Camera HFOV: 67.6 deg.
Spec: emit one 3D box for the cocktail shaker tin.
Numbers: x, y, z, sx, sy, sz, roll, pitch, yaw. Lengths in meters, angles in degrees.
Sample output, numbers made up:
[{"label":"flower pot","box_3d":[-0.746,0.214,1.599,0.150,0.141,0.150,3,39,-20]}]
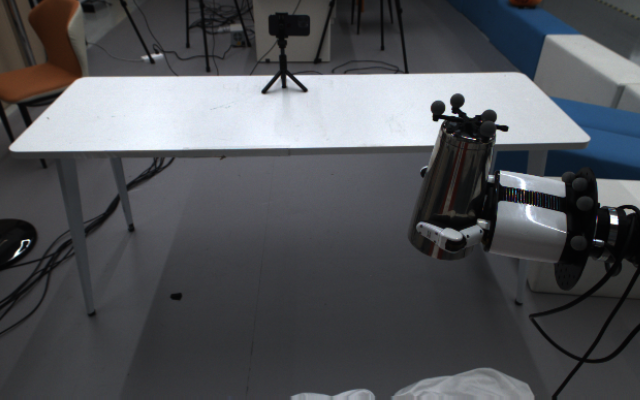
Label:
[{"label":"cocktail shaker tin","box_3d":[0.175,-0.017,0.632,0.093,0.170,0.093,3,34,-2]}]
